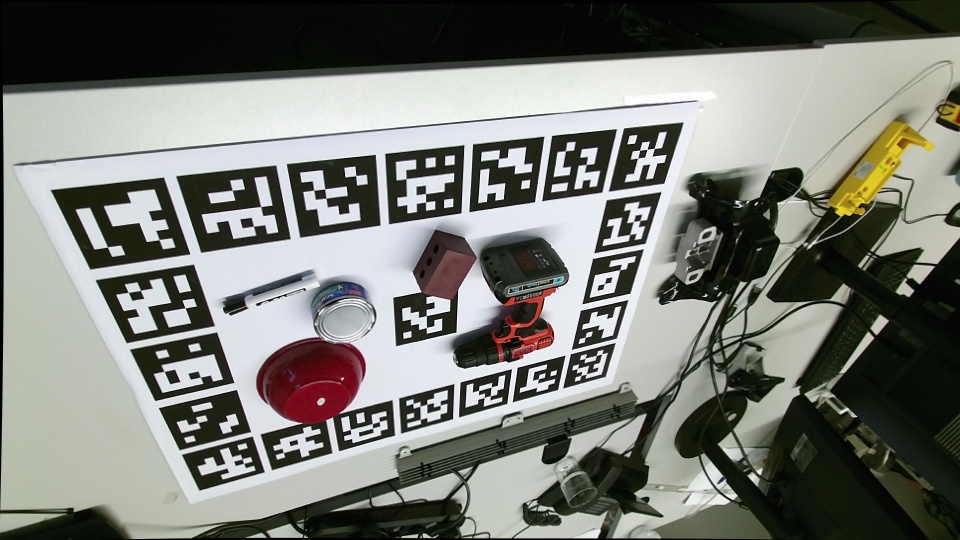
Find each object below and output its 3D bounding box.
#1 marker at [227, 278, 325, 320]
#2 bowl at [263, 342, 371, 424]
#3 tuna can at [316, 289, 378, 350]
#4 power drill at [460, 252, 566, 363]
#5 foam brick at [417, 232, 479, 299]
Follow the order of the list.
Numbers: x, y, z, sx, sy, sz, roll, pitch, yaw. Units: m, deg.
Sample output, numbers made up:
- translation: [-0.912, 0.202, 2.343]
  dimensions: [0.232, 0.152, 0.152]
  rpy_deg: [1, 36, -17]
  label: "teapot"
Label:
- translation: [-0.264, 0.038, 0.694]
  dimensions: [0.121, 0.019, 0.019]
  rpy_deg: [-18, 129, -12]
  label: "marker"
- translation: [-0.237, 0.182, 0.808]
  dimensions: [0.162, 0.055, 0.162]
  rpy_deg: [-17, 137, -16]
  label: "bowl"
- translation: [-0.184, 0.068, 0.748]
  dimensions: [0.086, 0.033, 0.086]
  rpy_deg: [-12, 129, -15]
  label: "tuna can"
- translation: [0.059, 0.067, 0.856]
  dimensions: [0.185, 0.057, 0.187]
  rpy_deg: [-10, 131, -15]
  label: "power drill"
- translation: [-0.045, -0.005, 0.756]
  dimensions: [0.051, 0.052, 0.078]
  rpy_deg: [12, 117, -31]
  label: "foam brick"
